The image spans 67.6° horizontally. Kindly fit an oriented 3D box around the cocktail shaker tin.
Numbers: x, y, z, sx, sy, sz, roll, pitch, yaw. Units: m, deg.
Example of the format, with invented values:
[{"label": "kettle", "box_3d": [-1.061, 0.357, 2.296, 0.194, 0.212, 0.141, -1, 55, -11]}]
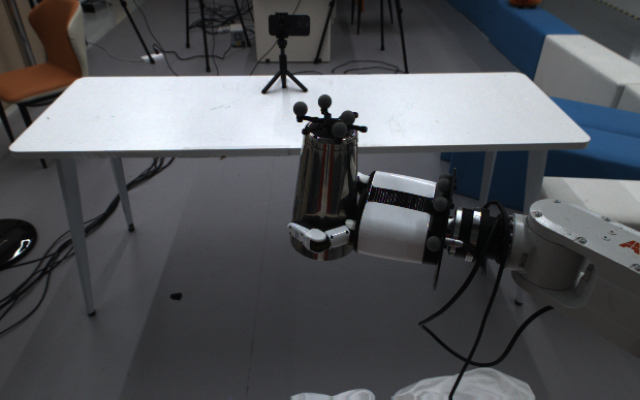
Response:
[{"label": "cocktail shaker tin", "box_3d": [0.010, -0.016, 0.632, 0.093, 0.170, 0.093, 3, 34, -2]}]
